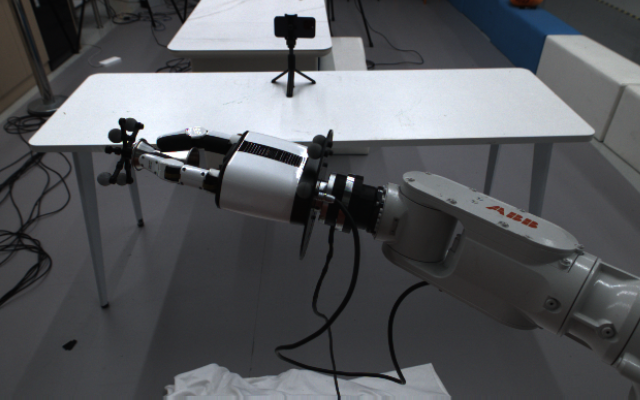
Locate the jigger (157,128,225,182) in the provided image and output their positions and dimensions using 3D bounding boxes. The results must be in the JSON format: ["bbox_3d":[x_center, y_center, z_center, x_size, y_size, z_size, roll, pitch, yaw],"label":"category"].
[{"bbox_3d":[-0.179,-0.051,0.584,0.071,0.043,0.043,11,35,4],"label":"jigger"}]
